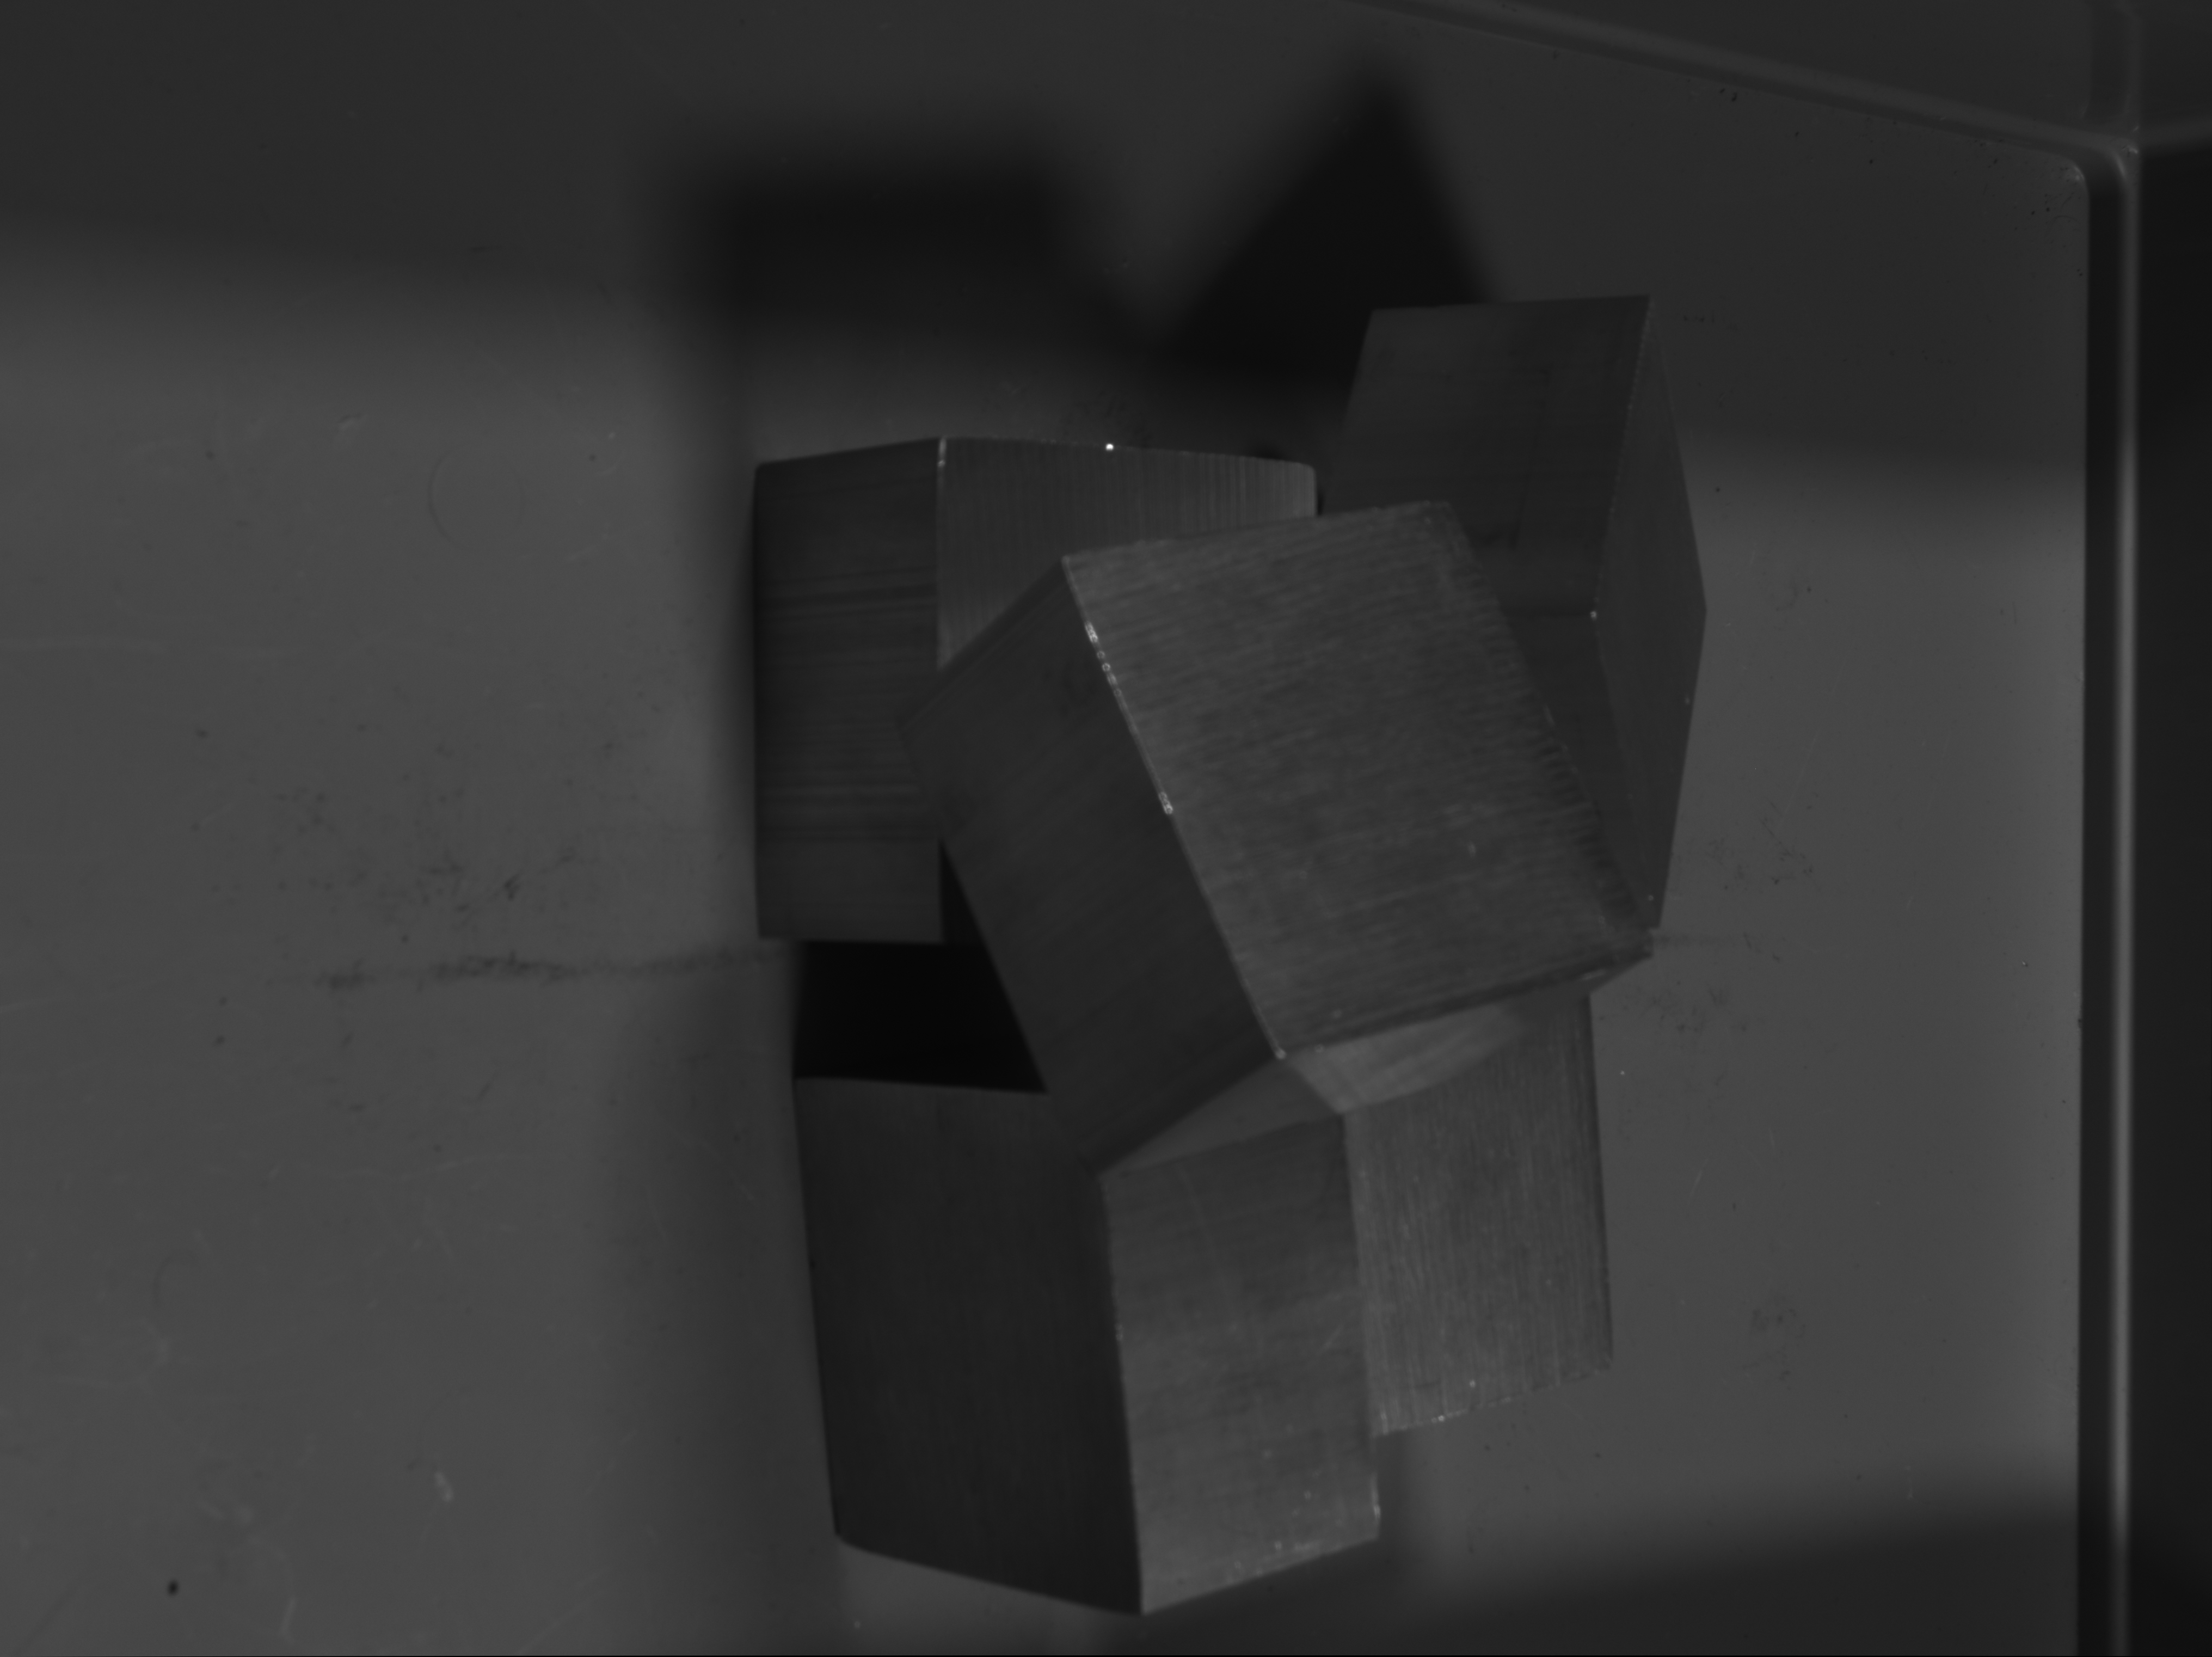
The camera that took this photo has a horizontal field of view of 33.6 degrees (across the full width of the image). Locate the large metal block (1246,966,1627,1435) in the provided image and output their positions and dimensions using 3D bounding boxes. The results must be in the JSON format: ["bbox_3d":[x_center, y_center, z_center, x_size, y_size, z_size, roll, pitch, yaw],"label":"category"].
[{"bbox_3d":[0.045,0.062,0.654,0.080,0.050,0.080,-7,94,-40],"label":"large metal block"}]

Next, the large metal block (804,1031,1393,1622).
[{"bbox_3d":[-0.002,0.078,0.598,0.050,0.080,0.080,-8,95,-39],"label":"large metal block"}]

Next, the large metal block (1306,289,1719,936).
[{"bbox_3d":[0.075,-0.037,0.649,0.080,0.050,0.080,70,27,-45],"label":"large metal block"}]

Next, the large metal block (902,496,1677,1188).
[{"bbox_3d":[0.028,0.000,0.558,0.080,0.050,0.080,-12,72,-39],"label":"large metal block"}]

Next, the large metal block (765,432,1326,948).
[{"bbox_3d":[-0.009,-0.022,0.612,0.080,0.050,0.080,-1,91,-40],"label":"large metal block"}]
